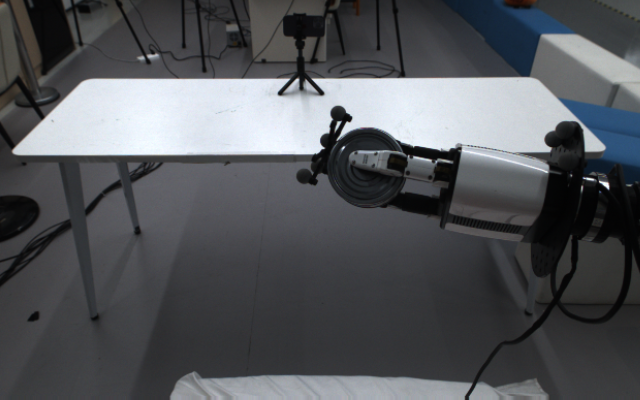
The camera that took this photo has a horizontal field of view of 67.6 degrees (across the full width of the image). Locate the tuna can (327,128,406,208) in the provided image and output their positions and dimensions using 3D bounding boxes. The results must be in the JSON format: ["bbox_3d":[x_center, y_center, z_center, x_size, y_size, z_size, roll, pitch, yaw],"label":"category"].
[{"bbox_3d":[0.054,-0.037,0.530,0.085,0.085,0.034,9,-5,10],"label":"tuna can"}]
